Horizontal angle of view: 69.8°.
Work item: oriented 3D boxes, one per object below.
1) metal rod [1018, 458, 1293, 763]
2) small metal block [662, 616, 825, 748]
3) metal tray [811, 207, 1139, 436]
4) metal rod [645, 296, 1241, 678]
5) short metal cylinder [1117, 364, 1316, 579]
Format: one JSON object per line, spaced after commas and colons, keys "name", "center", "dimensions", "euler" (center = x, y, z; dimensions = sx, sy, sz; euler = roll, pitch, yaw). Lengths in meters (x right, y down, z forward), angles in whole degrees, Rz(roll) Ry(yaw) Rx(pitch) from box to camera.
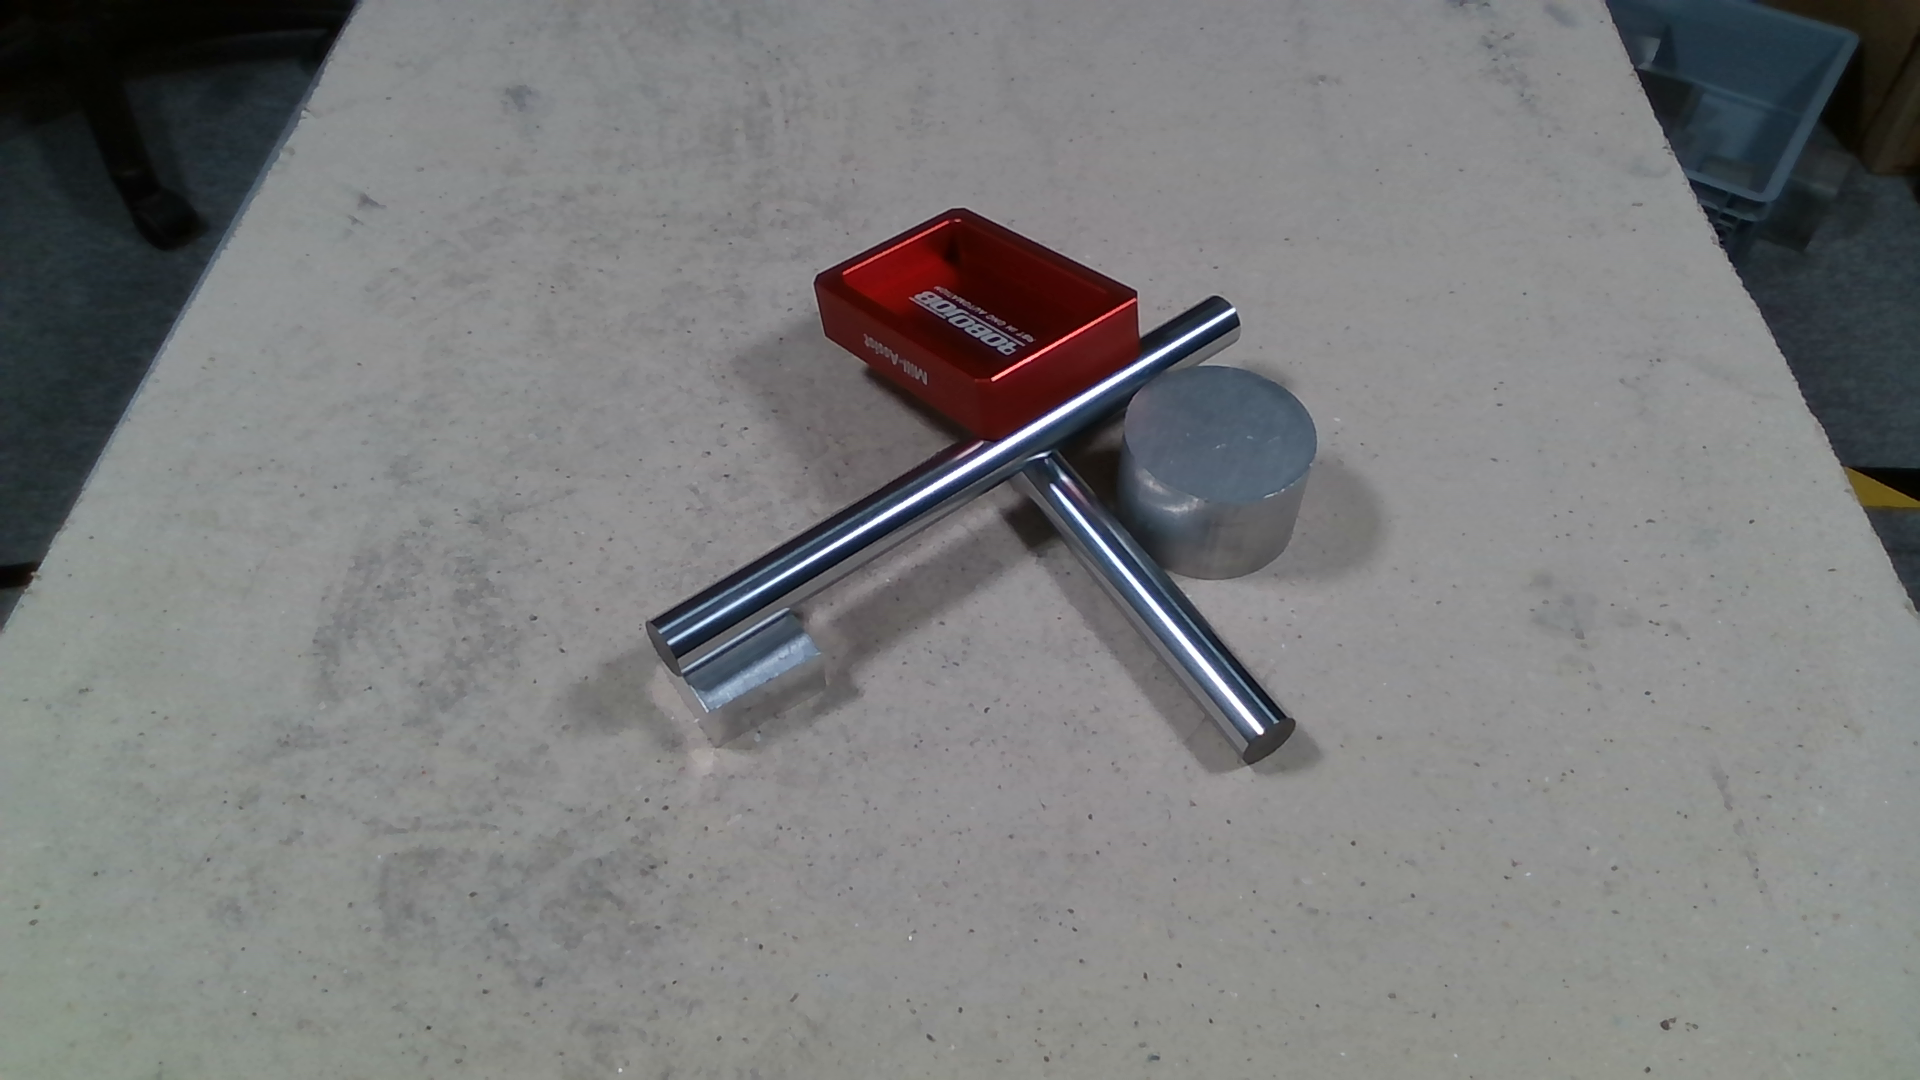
{"name": "metal rod", "center": [0.041, -0.023, 0.606], "dimensions": [0.025, 0.025, 0.299], "euler": [-24, 54, -19]}
{"name": "small metal block", "center": [-0.089, 0.046, 0.548], "dimensions": [0.050, 0.025, 0.050], "euler": [-27, 55, -21]}
{"name": "metal tray", "center": [0.005, -0.102, 0.619], "dimensions": [0.090, 0.030, 0.130], "euler": [-32, 45, -24]}
{"name": "metal rod", "center": [0.005, -0.030, 0.580], "dimensions": [0.300, 0.025, 0.025], "euler": [-32, 57, -24]}
{"name": "short metal cylinder", "center": [0.108, -0.030, 0.595], "dimensions": [0.080, 0.050, 0.080], "euler": [0, 50, 0]}
